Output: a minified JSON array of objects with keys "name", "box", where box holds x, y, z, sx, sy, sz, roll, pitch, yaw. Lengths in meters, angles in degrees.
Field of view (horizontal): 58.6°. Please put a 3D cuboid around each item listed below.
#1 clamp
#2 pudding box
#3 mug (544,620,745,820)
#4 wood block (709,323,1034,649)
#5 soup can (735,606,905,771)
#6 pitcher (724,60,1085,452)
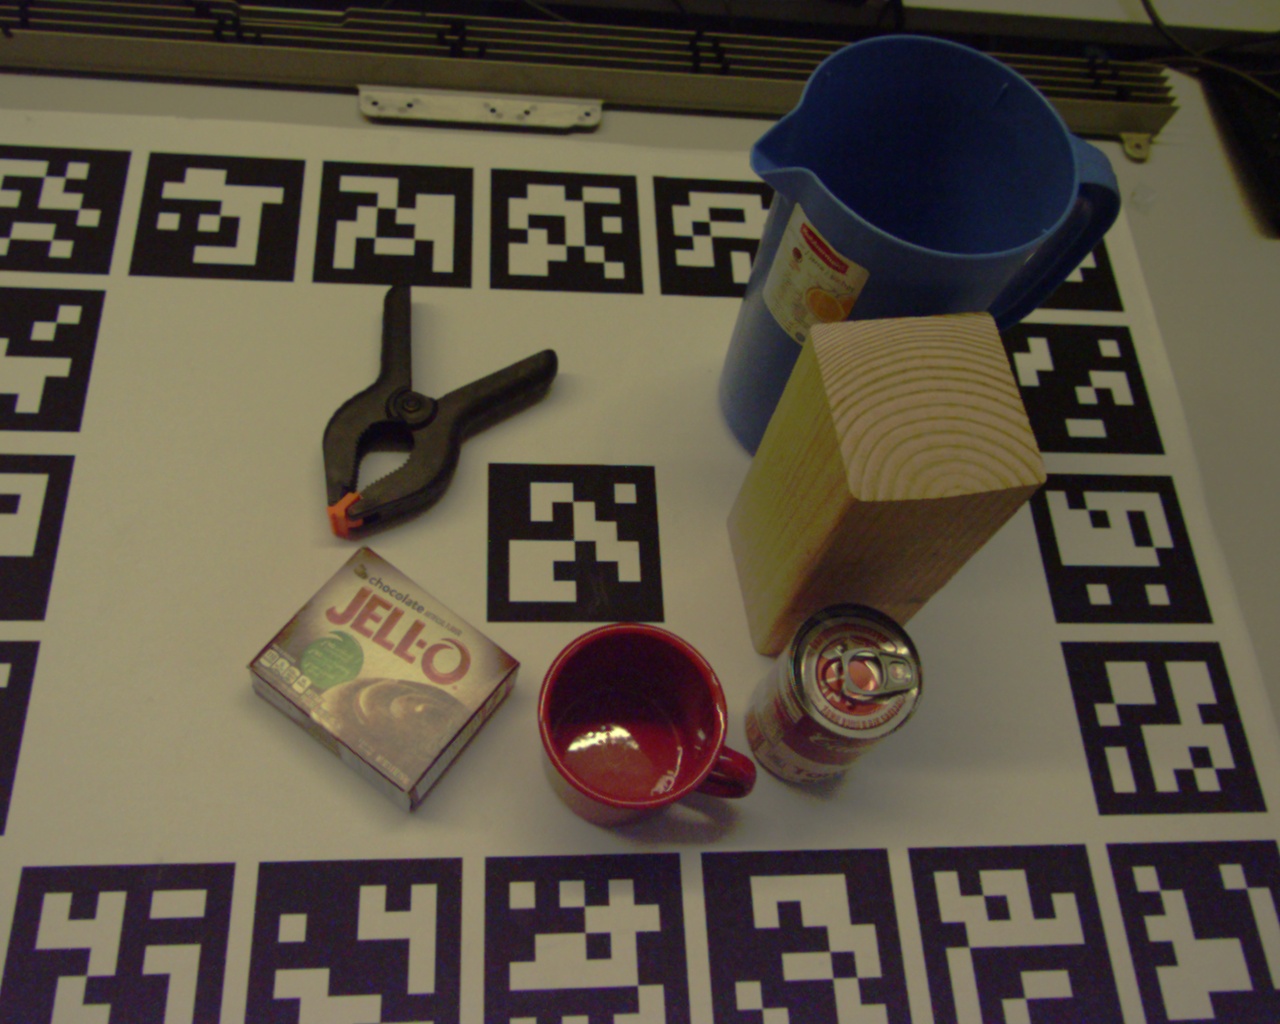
[{"name":"clamp","box":[-0.136,-0.052,0.711,0.122,0.037,0.164,28,65,-1]},{"name":"pudding box","box":[-0.144,0.091,0.634,0.114,0.038,0.089,33,68,10]},{"name":"mug","box":[0.002,0.123,0.610,0.118,0.081,0.093,31,62,9]},{"name":"wood block","box":[0.112,-0.005,0.613,0.089,0.206,0.091,-2,65,-13]},{"name":"soup can","box":[0.094,0.099,0.619,0.068,0.102,0.068,2,67,-7]},{"name":"pitcher","box":[0.129,-0.122,0.655,0.188,0.242,0.134,-2,63,-6]}]
